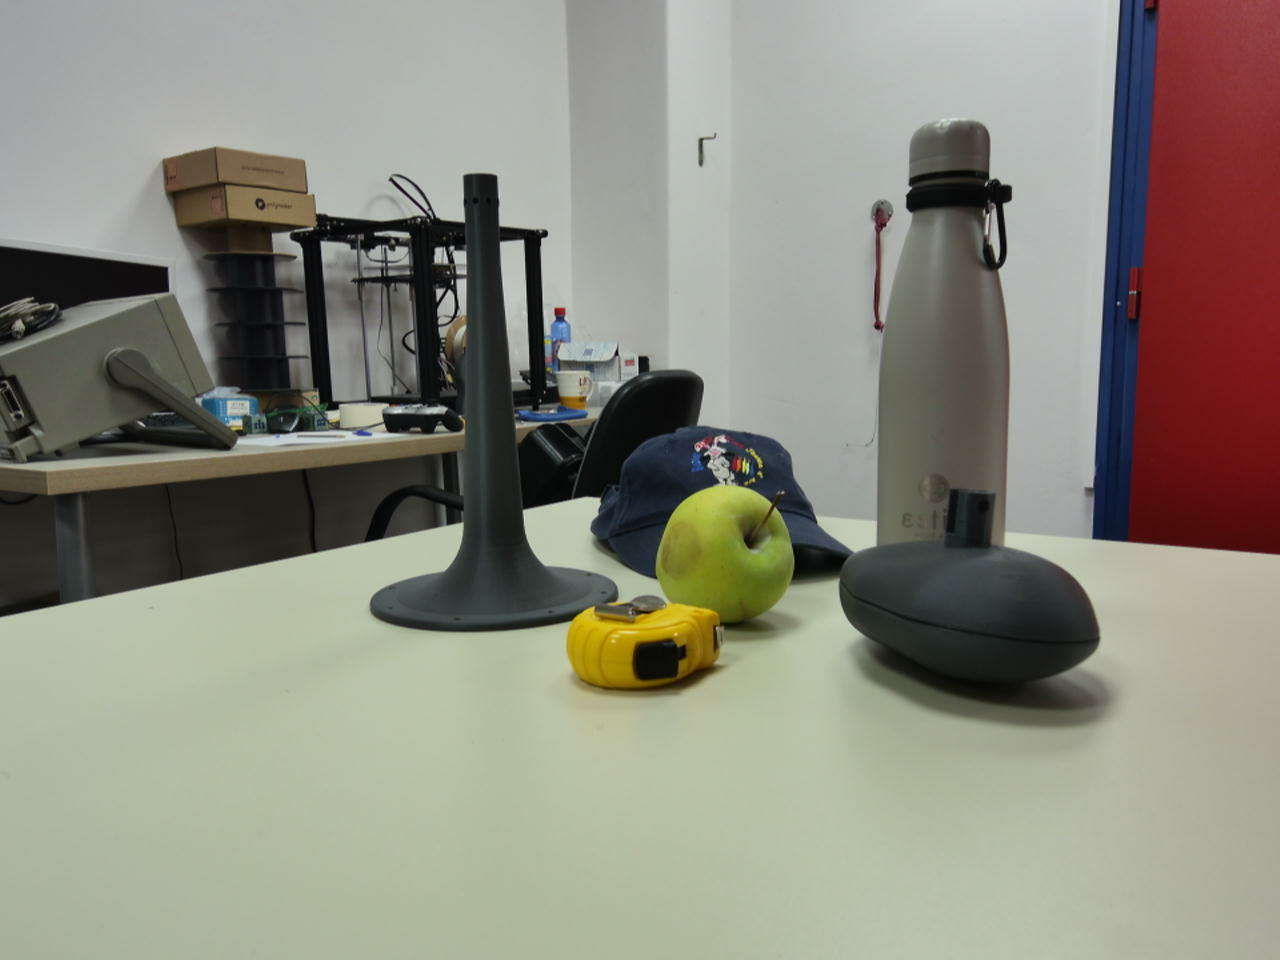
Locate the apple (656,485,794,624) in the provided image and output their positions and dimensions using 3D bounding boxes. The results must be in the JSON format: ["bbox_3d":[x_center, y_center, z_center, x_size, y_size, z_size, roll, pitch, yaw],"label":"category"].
[{"bbox_3d":[0.047,0.041,0.554,0.072,0.075,0.077,-1,5,-10],"label":"apple"}]
